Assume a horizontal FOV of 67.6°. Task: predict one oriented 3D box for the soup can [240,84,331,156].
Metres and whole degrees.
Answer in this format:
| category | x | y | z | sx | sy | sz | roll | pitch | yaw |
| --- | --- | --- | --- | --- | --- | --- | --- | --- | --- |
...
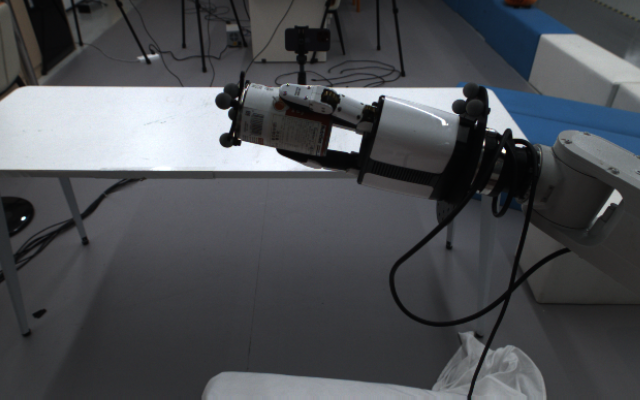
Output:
| category | x | y | z | sx | sy | sz | roll | pitch | yaw |
| --- | --- | --- | --- | --- | --- | --- | --- | --- | --- |
| soup can | -0.035 | -0.090 | 0.548 | 0.101 | 0.067 | 0.067 | 11 | 35 | -2 |
